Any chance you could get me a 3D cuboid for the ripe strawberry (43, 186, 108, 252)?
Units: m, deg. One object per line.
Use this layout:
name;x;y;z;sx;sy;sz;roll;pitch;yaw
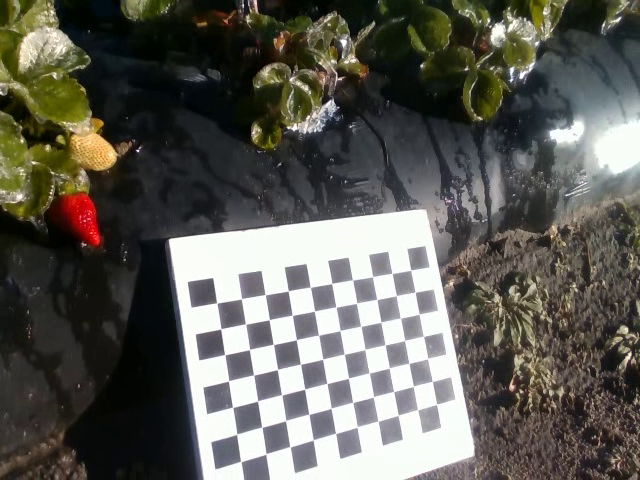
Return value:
ripe strawberry;-0.203;-0.018;0.503;0.041;0.052;0.040;-27;-6;-27
